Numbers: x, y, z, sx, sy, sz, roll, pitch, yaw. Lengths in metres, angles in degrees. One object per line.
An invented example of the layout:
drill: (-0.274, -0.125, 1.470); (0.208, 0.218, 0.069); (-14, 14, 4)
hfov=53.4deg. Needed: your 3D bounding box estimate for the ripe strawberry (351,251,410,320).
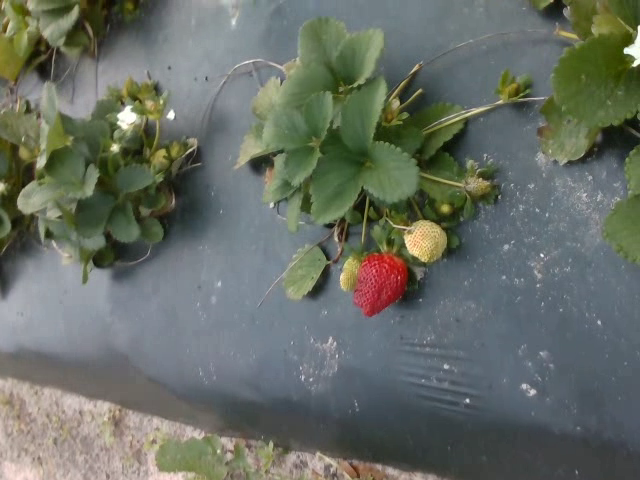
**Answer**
ripe strawberry: (0.047, 0.038, 0.490); (0.046, 0.059, 0.046); (0, -37, 46)
